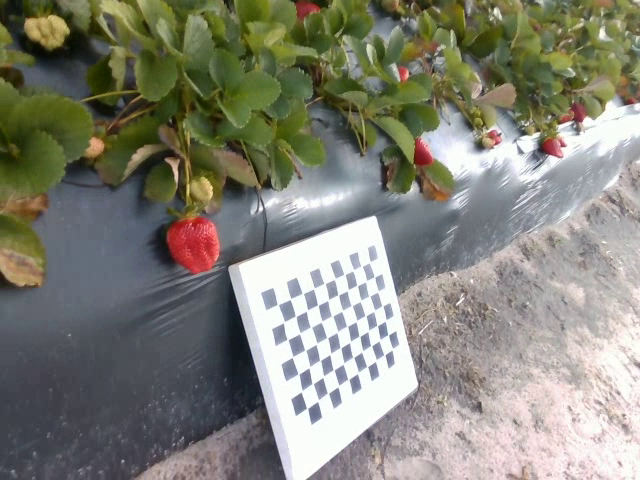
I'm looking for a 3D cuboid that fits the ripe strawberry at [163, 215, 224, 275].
[{"bbox_3d":[-0.149,0.004,0.684,0.039,0.075,0.067,-13,0,45],"label":"ripe strawberry"}]
